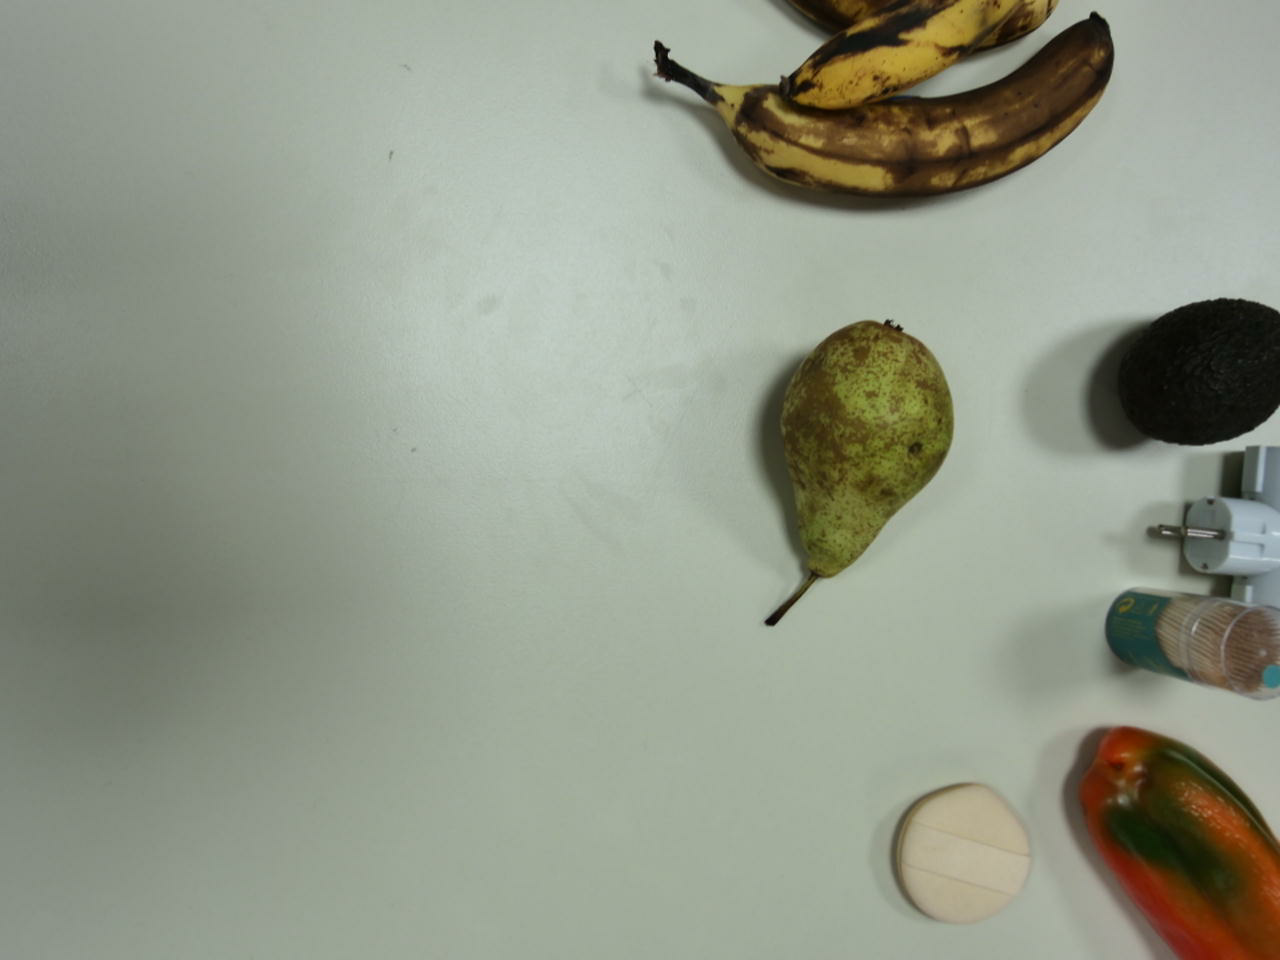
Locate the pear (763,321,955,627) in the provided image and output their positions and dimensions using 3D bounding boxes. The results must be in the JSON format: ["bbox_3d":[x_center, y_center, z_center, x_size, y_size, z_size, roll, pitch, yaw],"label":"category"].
[{"bbox_3d":[0.097,-0.002,0.426,0.071,0.075,0.128,-7,92,-12],"label":"pear"}]
